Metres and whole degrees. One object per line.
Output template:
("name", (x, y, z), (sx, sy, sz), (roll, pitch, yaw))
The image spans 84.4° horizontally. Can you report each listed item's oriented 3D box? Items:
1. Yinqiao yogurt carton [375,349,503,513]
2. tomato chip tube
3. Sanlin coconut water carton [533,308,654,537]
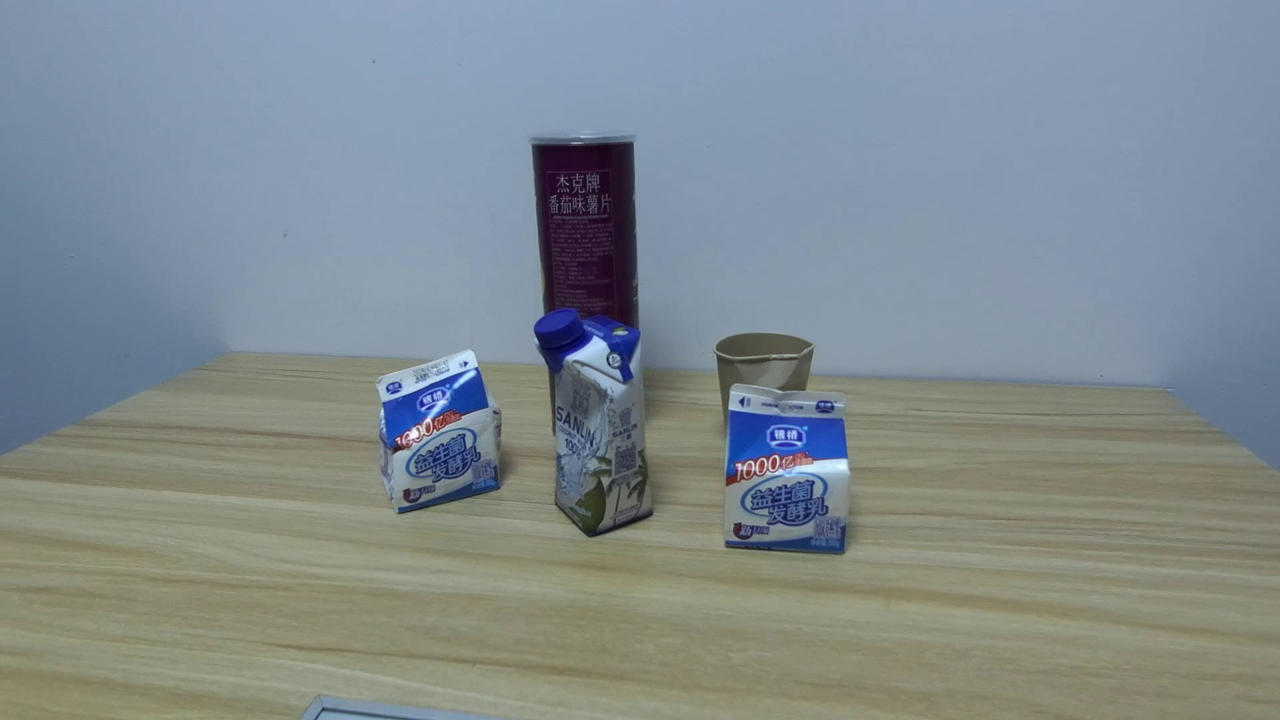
("Yinqiao yogurt carton", (-0.145, 0.043, 0.504), (0.083, 0.093, 0.077), (-11, 22, -24))
("tomato chip tube", (-0.039, -0.051, 0.550), (0.078, 0.234, 0.078), (-1, 16, 1))
("Sanlin coconut water carton", (-0.029, 0.035, 0.448), (0.058, 0.142, 0.077), (-18, 25, -28))
